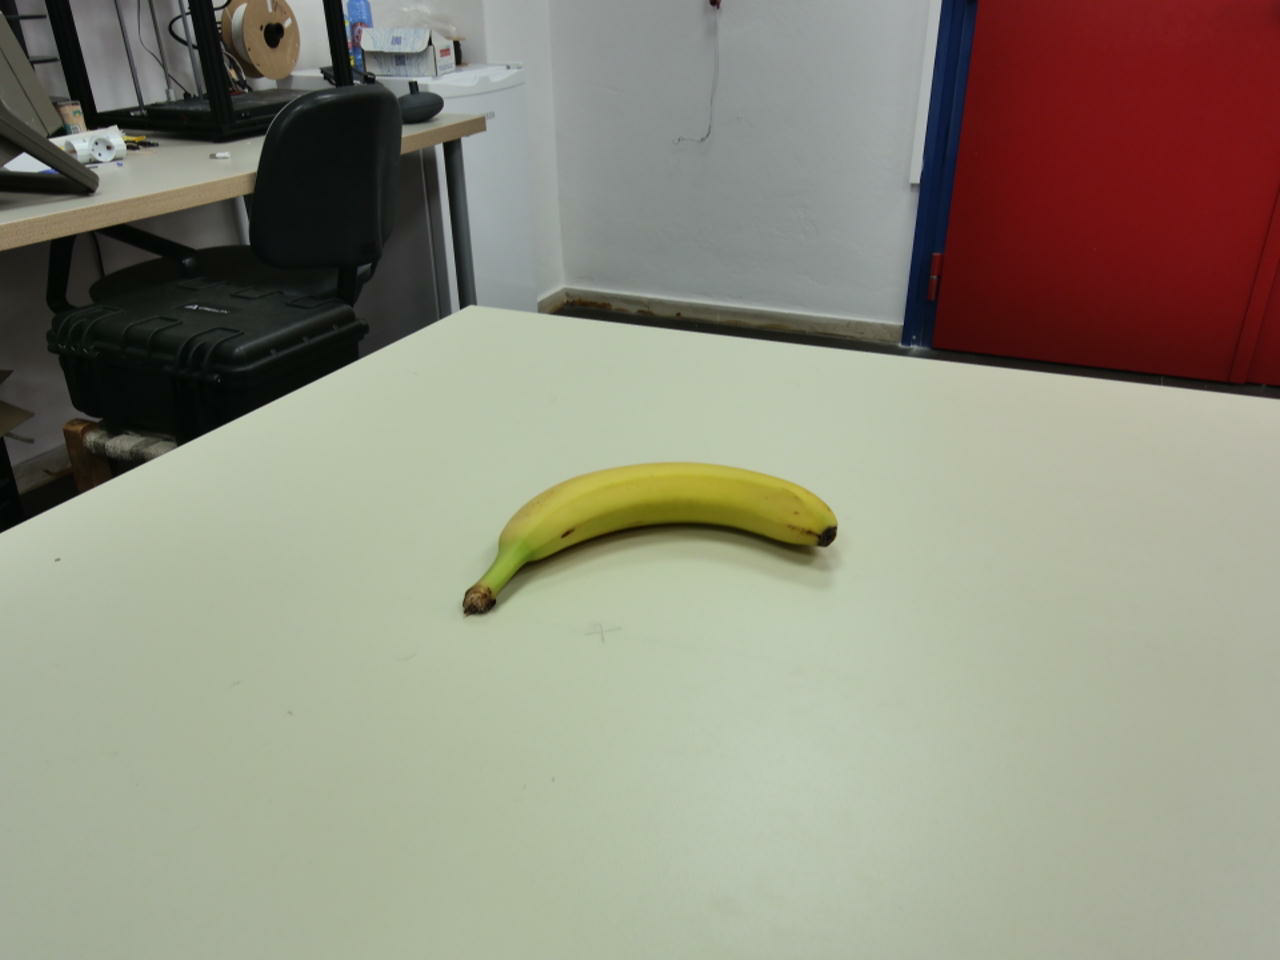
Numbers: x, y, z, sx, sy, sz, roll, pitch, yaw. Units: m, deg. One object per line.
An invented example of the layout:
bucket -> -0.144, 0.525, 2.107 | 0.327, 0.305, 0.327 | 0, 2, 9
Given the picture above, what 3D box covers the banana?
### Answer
banana -> 0.001, 0.022, 0.542 | 0.196, 0.041, 0.094 | -5, 25, -10
